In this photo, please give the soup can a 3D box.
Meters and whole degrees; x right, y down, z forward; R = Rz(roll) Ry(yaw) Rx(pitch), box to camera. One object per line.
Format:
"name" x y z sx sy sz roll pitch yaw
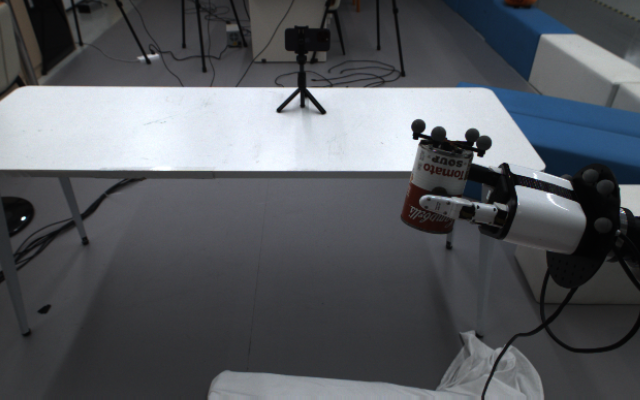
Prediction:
"soup can" 0.146 -0.019 0.603 0.067 0.101 0.067 9 20 -3
